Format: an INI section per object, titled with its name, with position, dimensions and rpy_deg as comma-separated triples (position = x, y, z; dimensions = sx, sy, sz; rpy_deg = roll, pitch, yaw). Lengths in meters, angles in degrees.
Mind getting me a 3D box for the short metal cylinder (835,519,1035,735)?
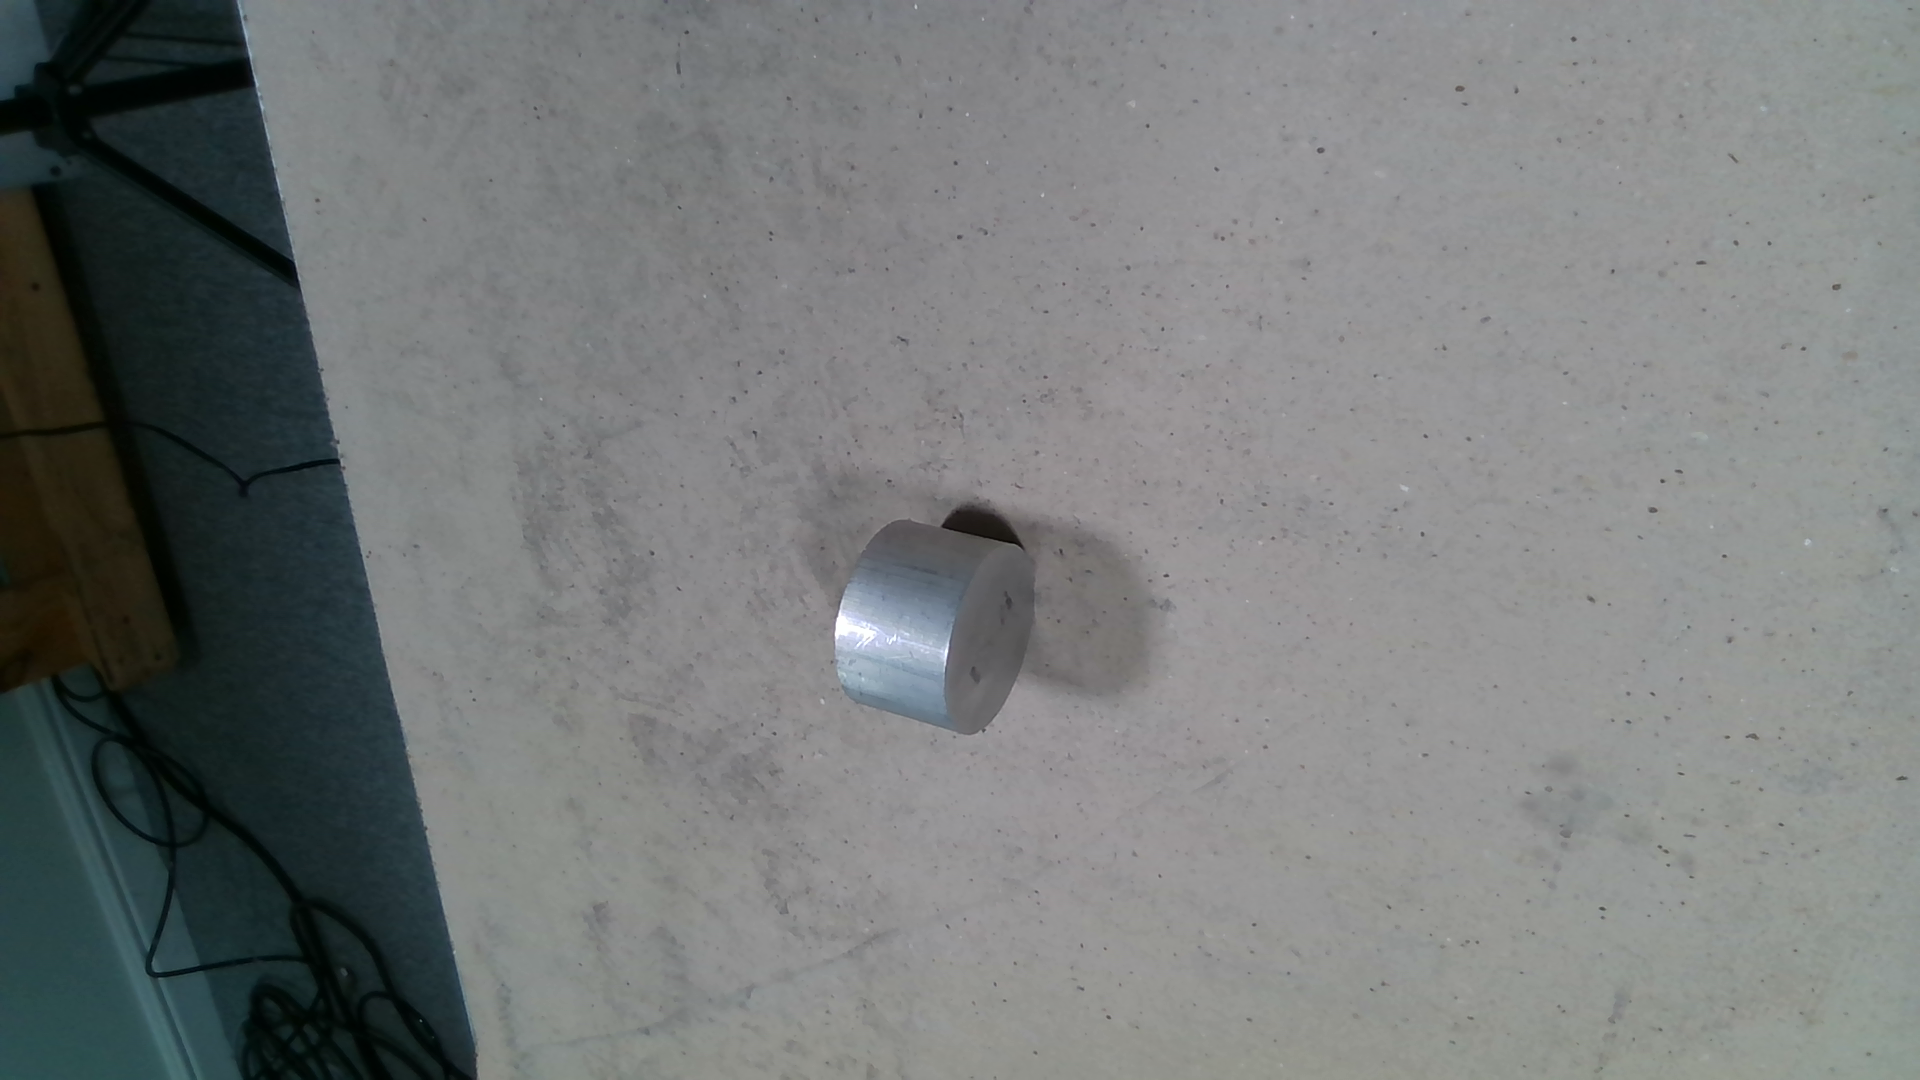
[short metal cylinder]
position = -0.009, 0.035, 0.570
dimensions = 0.050, 0.080, 0.080
rpy_deg = 13, 121, 25
